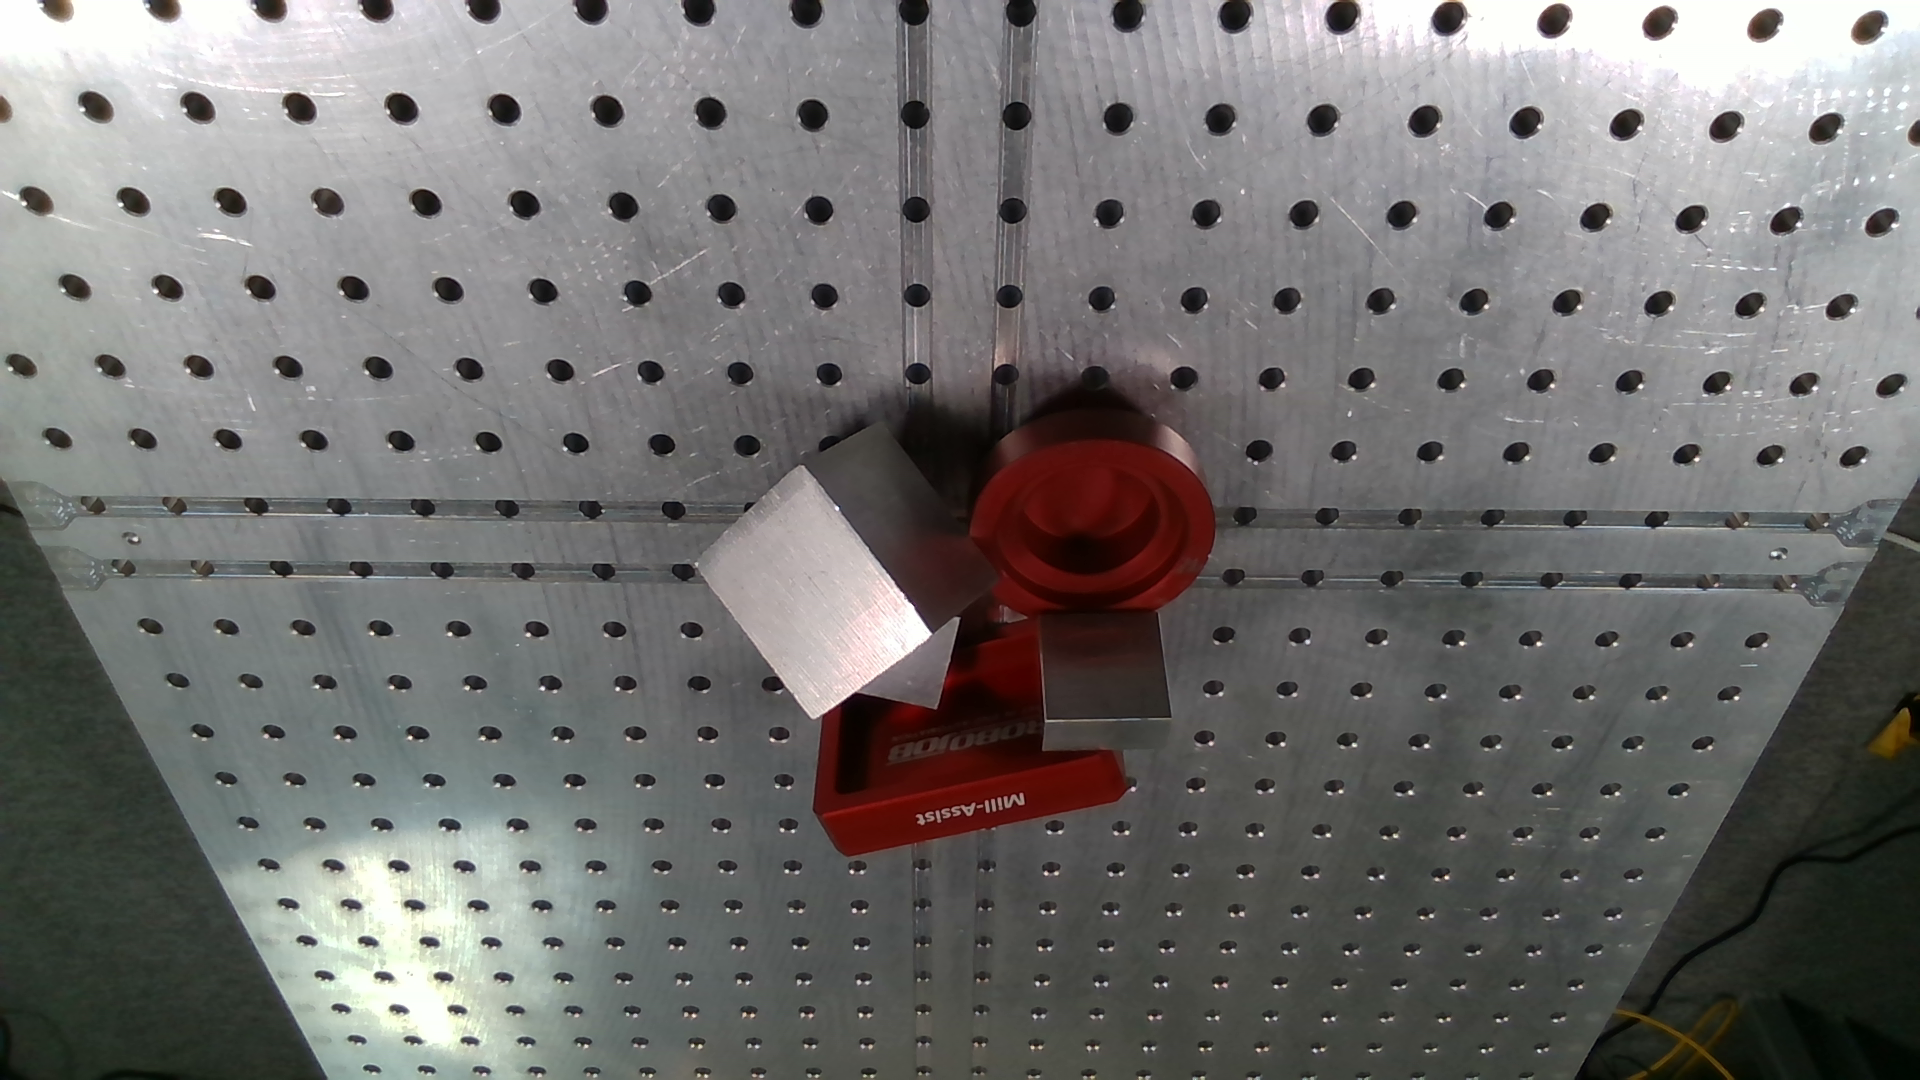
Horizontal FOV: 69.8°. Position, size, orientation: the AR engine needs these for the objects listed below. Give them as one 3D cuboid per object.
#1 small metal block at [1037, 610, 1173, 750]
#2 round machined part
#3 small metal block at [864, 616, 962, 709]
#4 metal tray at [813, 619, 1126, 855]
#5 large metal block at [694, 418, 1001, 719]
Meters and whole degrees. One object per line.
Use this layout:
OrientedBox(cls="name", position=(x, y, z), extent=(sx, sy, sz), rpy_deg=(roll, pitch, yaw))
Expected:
OrientedBox(cls="small metal block", position=(0.057, 0.057, 0.560), extent=(0.050, 0.050, 0.025), rpy_deg=(-1, 144, -1))
OrientedBox(cls="round machined part", position=(0.052, -0.014, 0.559), extent=(0.098, 0.042, 0.098), rpy_deg=(0, 130, 0))
OrientedBox(cls="small metal block", position=(-0.028, 0.043, 0.612), extent=(0.050, 0.025, 0.050), rpy_deg=(12, 118, -4))
OrientedBox(cls="metal tray", position=(0.004, 0.083, 0.610), extent=(0.130, 0.090, 0.030), rpy_deg=(-14, 129, 11))
OrientedBox(cls="large metal block", position=(-0.045, 0.012, 0.546), extent=(0.080, 0.050, 0.080), rpy_deg=(-37, 89, 39))
